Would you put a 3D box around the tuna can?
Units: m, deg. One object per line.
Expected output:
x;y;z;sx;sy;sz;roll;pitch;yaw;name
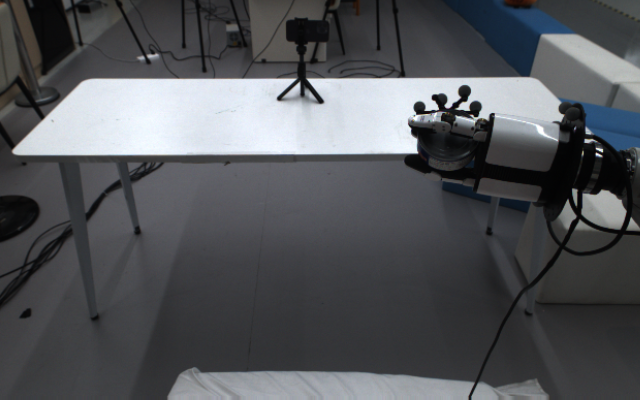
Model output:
0.180;-0.086;0.686;0.085;0.034;0.085;-4;61;7;tuna can
